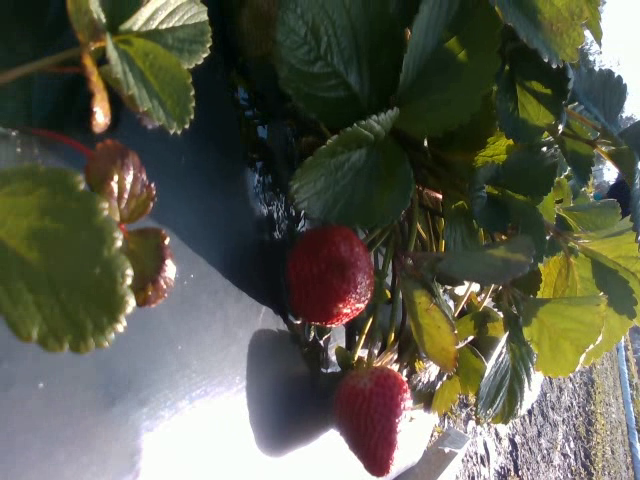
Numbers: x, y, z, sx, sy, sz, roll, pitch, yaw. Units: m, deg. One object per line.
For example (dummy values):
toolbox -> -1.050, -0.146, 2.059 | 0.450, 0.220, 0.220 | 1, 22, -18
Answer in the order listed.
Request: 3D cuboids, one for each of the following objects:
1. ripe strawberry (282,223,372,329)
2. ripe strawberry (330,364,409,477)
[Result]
ripe strawberry -> 0.006, 0.016, 0.246 | 0.039, 0.048, 0.054 | 27, -10, 1
ripe strawberry -> 0.026, 0.081, 0.262 | 0.038, 0.053, 0.043 | -7, -44, -3
